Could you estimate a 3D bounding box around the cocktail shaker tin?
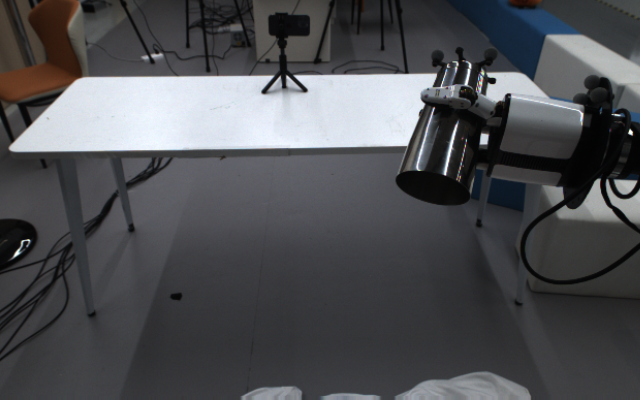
[{"bbox_3d":[0.163,-0.090,0.616,0.093,0.093,0.170,13,70,16],"label":"cocktail shaker tin"}]
